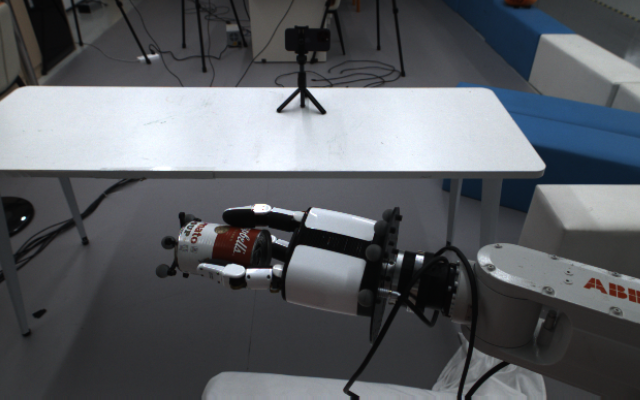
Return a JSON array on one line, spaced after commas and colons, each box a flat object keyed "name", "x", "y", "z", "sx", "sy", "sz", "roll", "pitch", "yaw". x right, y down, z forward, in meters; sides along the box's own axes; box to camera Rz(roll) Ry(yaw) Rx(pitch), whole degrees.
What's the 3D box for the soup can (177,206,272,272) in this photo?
[{"name": "soup can", "x": -0.116, "y": 0.064, "z": 0.598, "sx": 0.101, "sy": 0.067, "sz": 0.067, "roll": 6, "pitch": 35, "yaw": 13}]
